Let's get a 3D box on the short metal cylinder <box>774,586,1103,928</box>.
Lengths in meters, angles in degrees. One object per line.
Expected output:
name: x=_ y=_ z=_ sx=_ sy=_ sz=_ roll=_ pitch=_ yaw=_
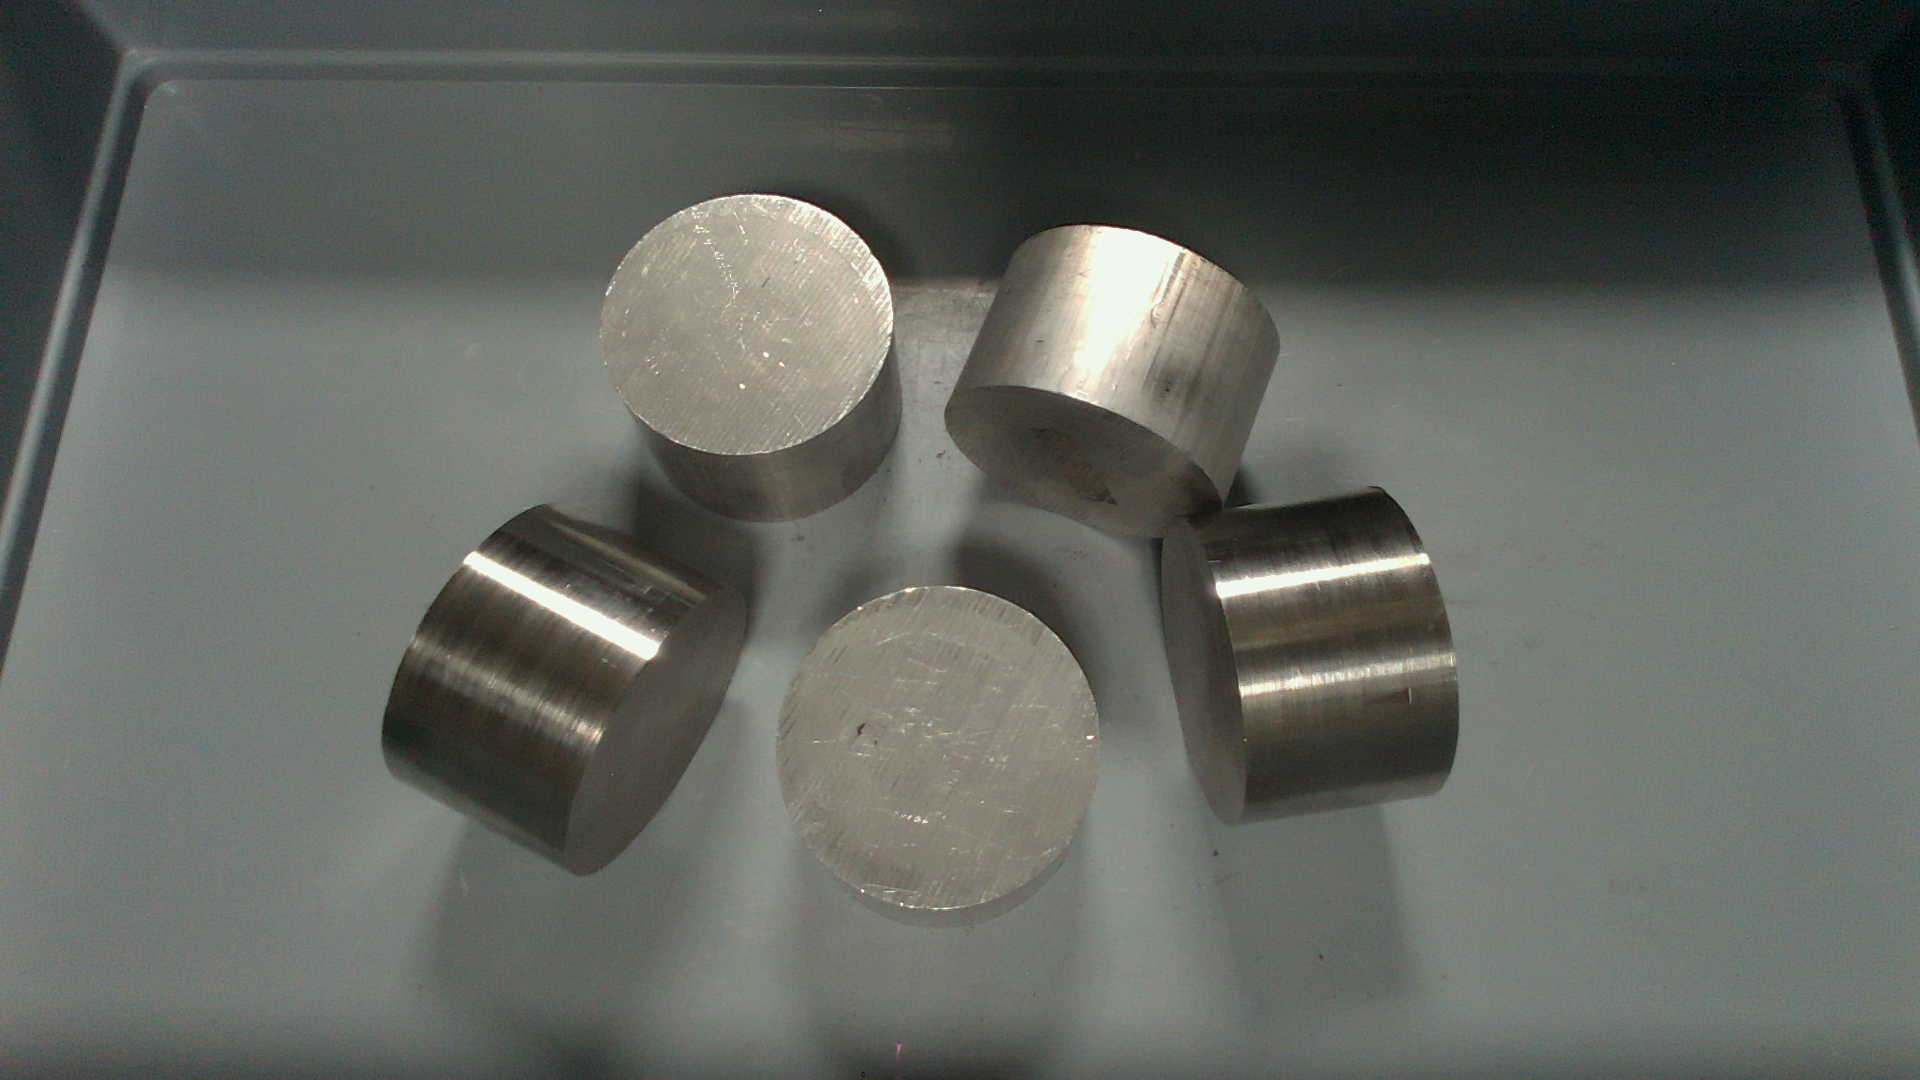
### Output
short metal cylinder: x=-0.005 y=0.058 z=0.359 sx=0.080 sy=0.050 sz=0.080 roll=0 pitch=70 yaw=0

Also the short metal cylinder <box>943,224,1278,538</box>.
short metal cylinder: x=0.042 y=-0.042 z=0.381 sx=0.080 sy=0.080 sz=0.050 roll=20 pitch=71 yaw=7

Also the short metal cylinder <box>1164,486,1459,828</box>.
short metal cylinder: x=0.087 y=0.030 z=0.353 sx=0.050 sy=0.080 sz=0.080 roll=-9 pitch=70 yaw=-3

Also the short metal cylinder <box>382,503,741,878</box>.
short metal cylinder: x=-0.098 y=0.037 z=0.349 sx=0.050 sy=0.080 sz=0.080 roll=25 pitch=72 yaw=9

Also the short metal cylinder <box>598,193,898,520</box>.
short metal cylinder: x=-0.059 y=-0.052 z=0.399 sx=0.080 sy=0.050 sz=0.080 roll=0 pitch=70 yaw=0
